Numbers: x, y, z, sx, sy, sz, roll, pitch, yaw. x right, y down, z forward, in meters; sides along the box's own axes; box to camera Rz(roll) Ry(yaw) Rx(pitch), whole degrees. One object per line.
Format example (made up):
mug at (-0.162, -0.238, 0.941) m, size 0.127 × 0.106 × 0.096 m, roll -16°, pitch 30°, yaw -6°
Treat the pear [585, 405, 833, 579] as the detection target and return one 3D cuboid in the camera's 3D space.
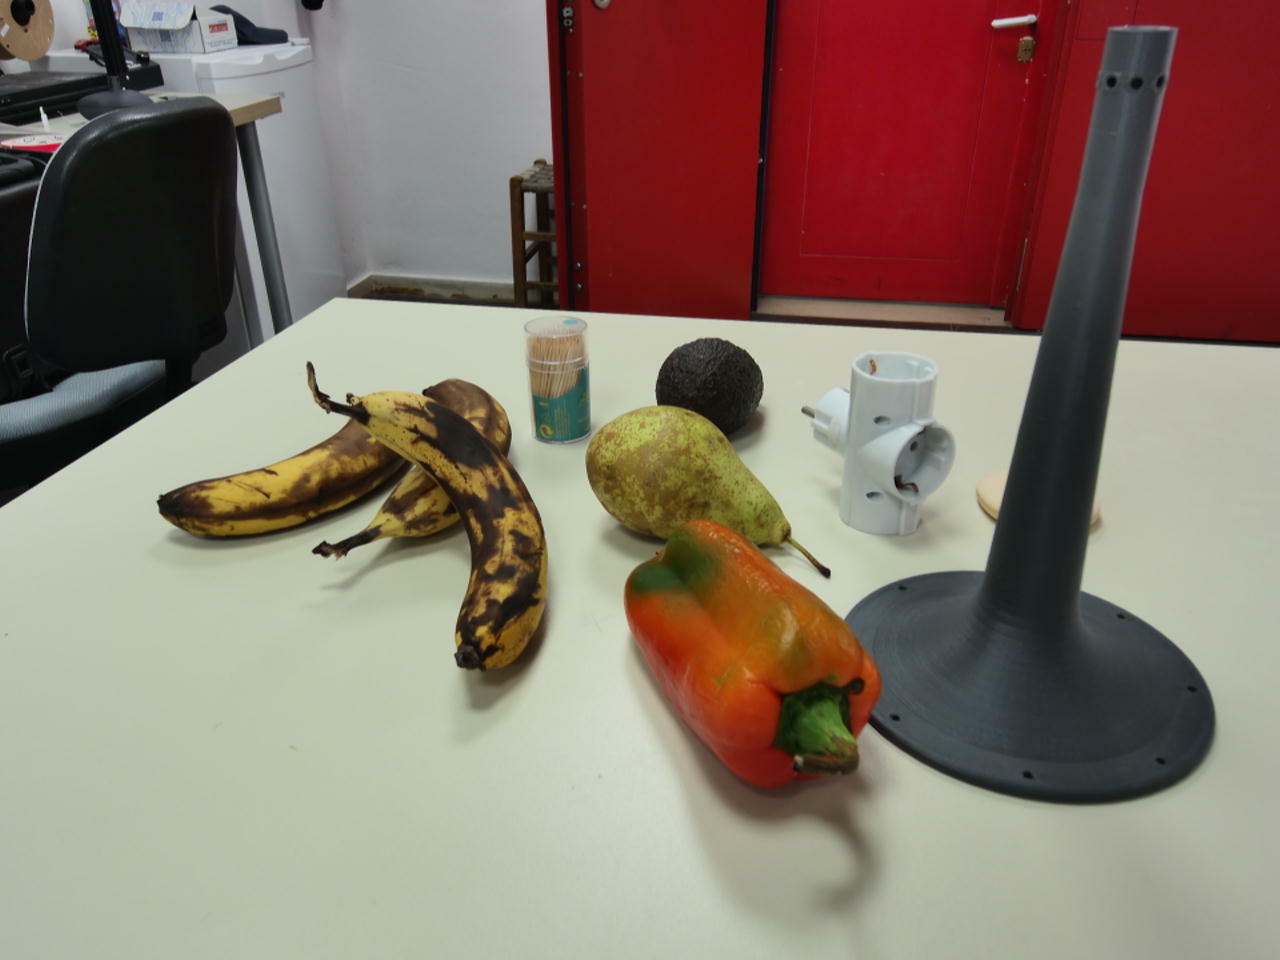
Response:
pear at (0.035, -0.001, 0.530) m, size 0.128 × 0.075 × 0.071 m, roll 2°, pitch 25°, yaw 4°
